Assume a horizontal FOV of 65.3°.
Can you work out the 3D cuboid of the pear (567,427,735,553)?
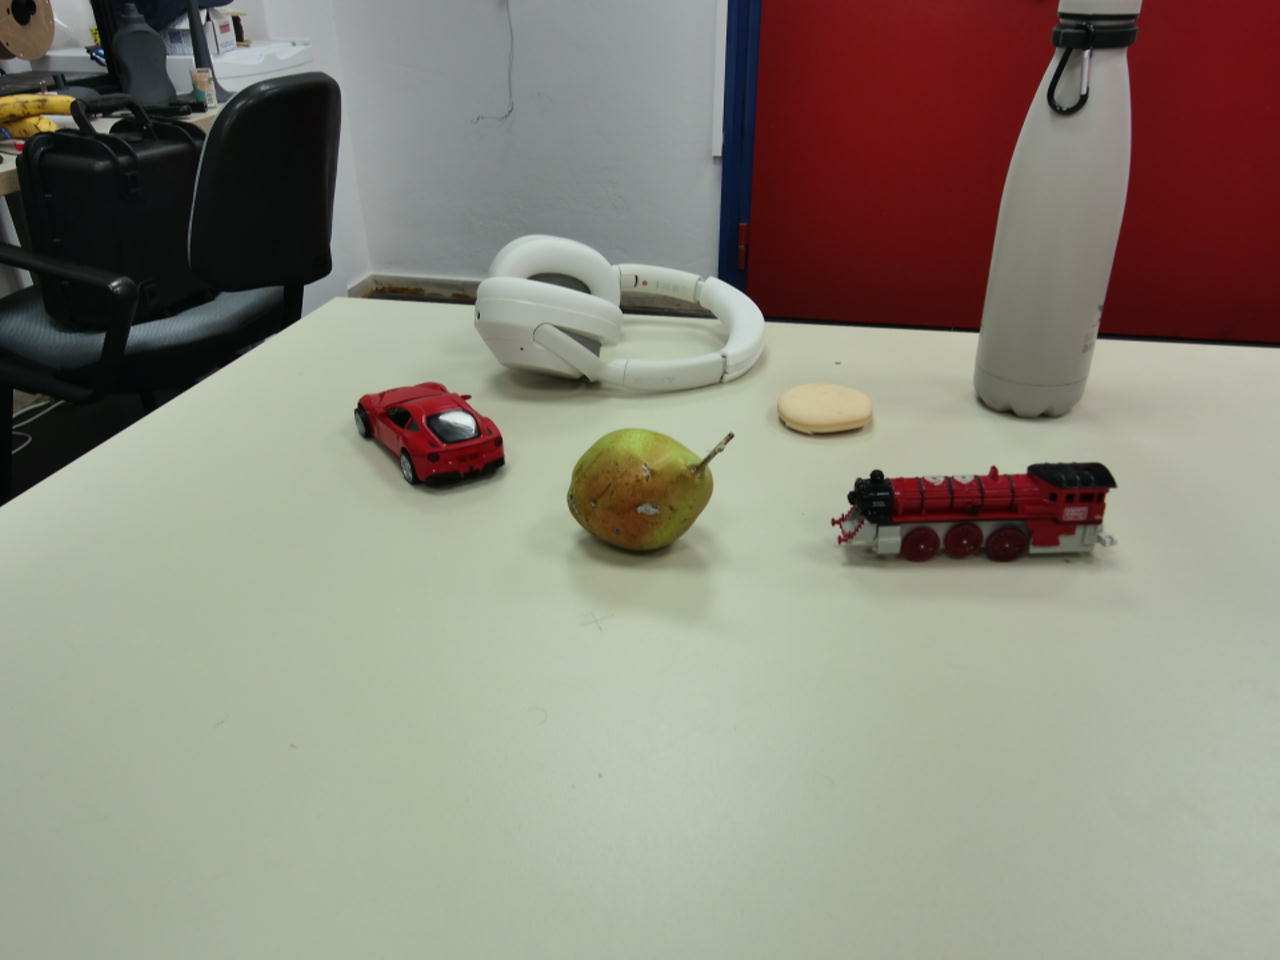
[{"bbox_3d":[0.000,0.003,0.511,0.068,0.069,0.070,-13,28,-24],"label":"pear"}]
